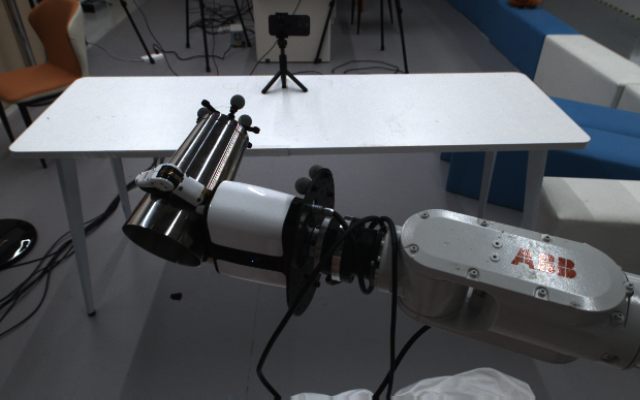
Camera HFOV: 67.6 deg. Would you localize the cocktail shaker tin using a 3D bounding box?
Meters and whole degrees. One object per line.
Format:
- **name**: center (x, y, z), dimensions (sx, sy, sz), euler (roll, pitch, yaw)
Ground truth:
- **cocktail shaker tin**: center (-0.148, -0.017, 0.569), dimensions (0.093, 0.093, 0.170), euler (13, 61, 16)
